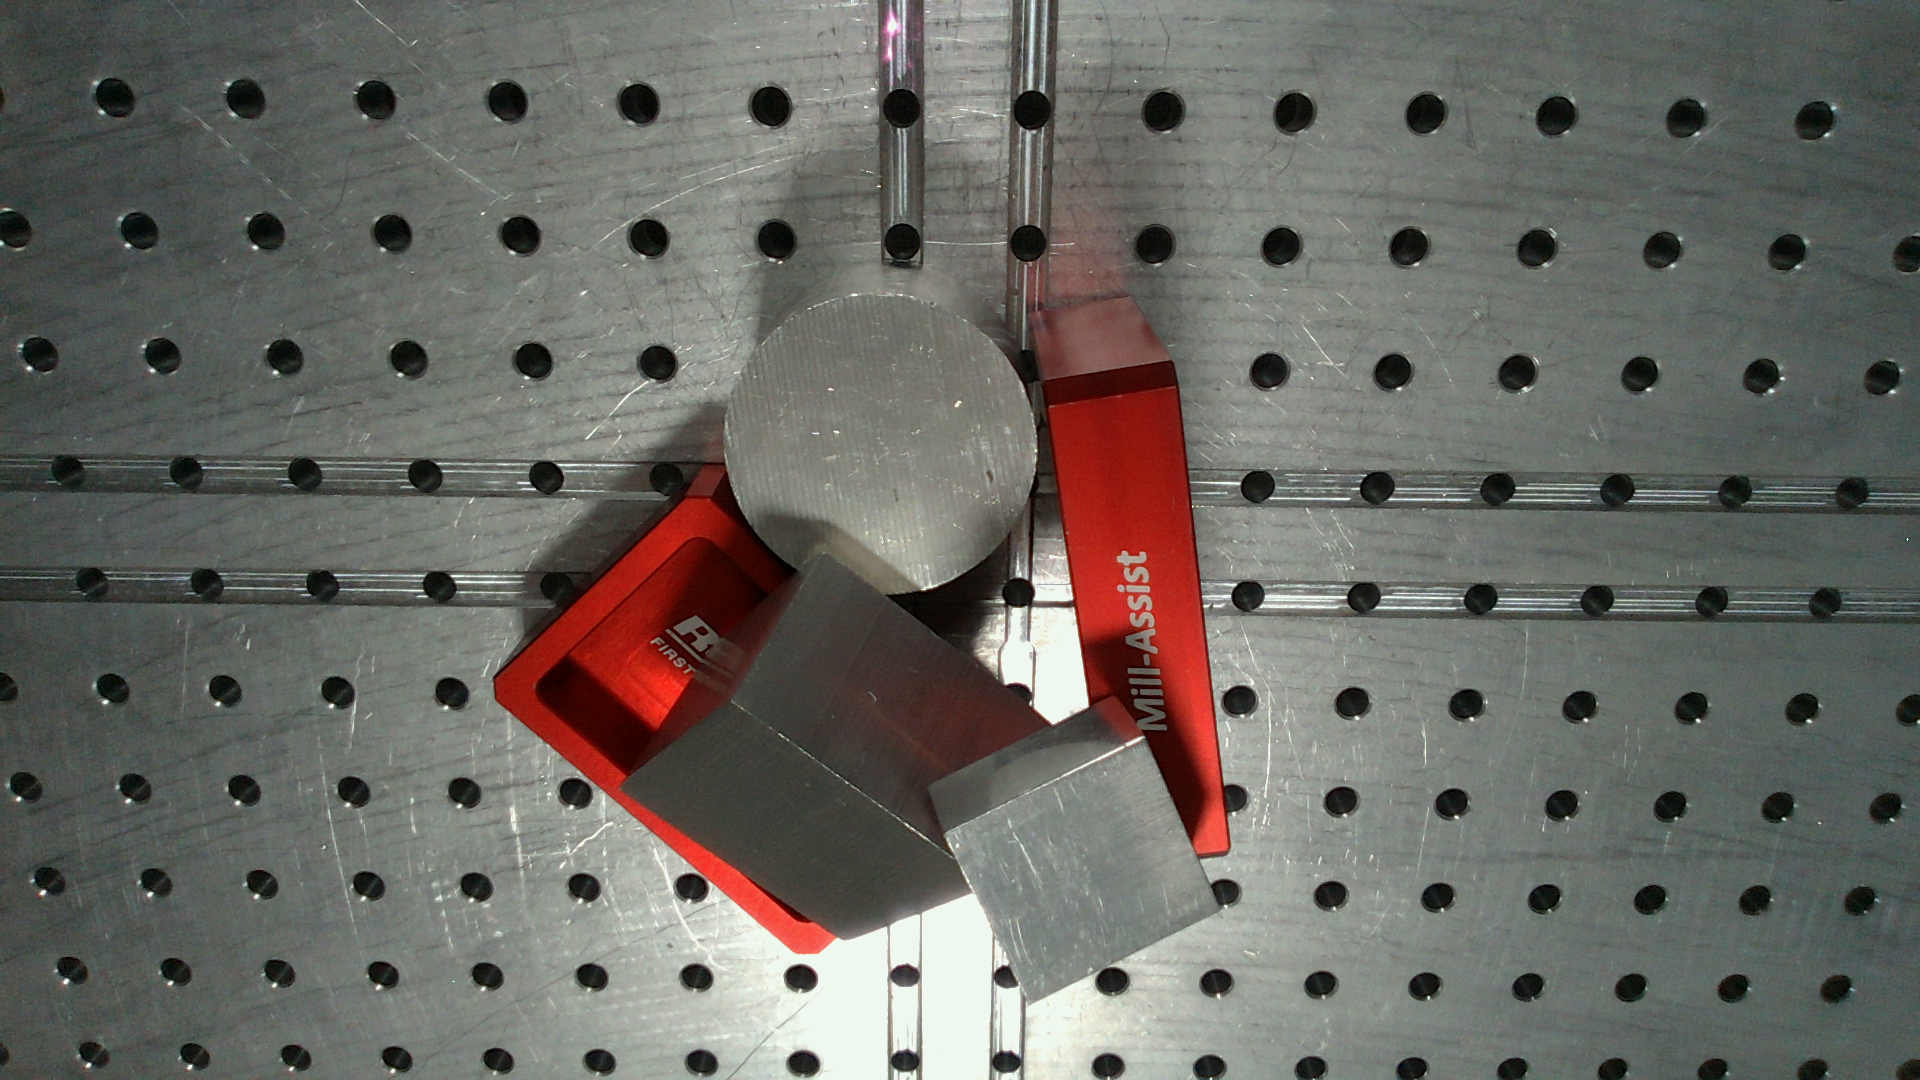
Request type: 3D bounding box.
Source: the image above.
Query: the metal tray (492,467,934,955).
[{"bbox_3d":[-0.059,0.053,0.412,0.090,0.030,0.130,-41,105,14],"label":"metal tray"}]

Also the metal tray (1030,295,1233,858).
[{"bbox_3d":[0.044,0.008,0.365,0.030,0.090,0.130,-9,110,3],"label":"metal tray"}]

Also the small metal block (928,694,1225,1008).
[{"bbox_3d":[0.027,0.072,0.323,0.050,0.025,0.050,-26,109,-3],"label":"small metal block"}]

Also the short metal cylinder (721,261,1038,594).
[{"bbox_3d":[-0.020,-0.032,0.371,0.080,0.050,0.080,0,110,0],"label":"short metal cylinder"}]

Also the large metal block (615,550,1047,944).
[{"bbox_3d":[-0.034,0.059,0.372,0.080,0.050,0.080,38,141,-13],"label":"large metal block"}]
